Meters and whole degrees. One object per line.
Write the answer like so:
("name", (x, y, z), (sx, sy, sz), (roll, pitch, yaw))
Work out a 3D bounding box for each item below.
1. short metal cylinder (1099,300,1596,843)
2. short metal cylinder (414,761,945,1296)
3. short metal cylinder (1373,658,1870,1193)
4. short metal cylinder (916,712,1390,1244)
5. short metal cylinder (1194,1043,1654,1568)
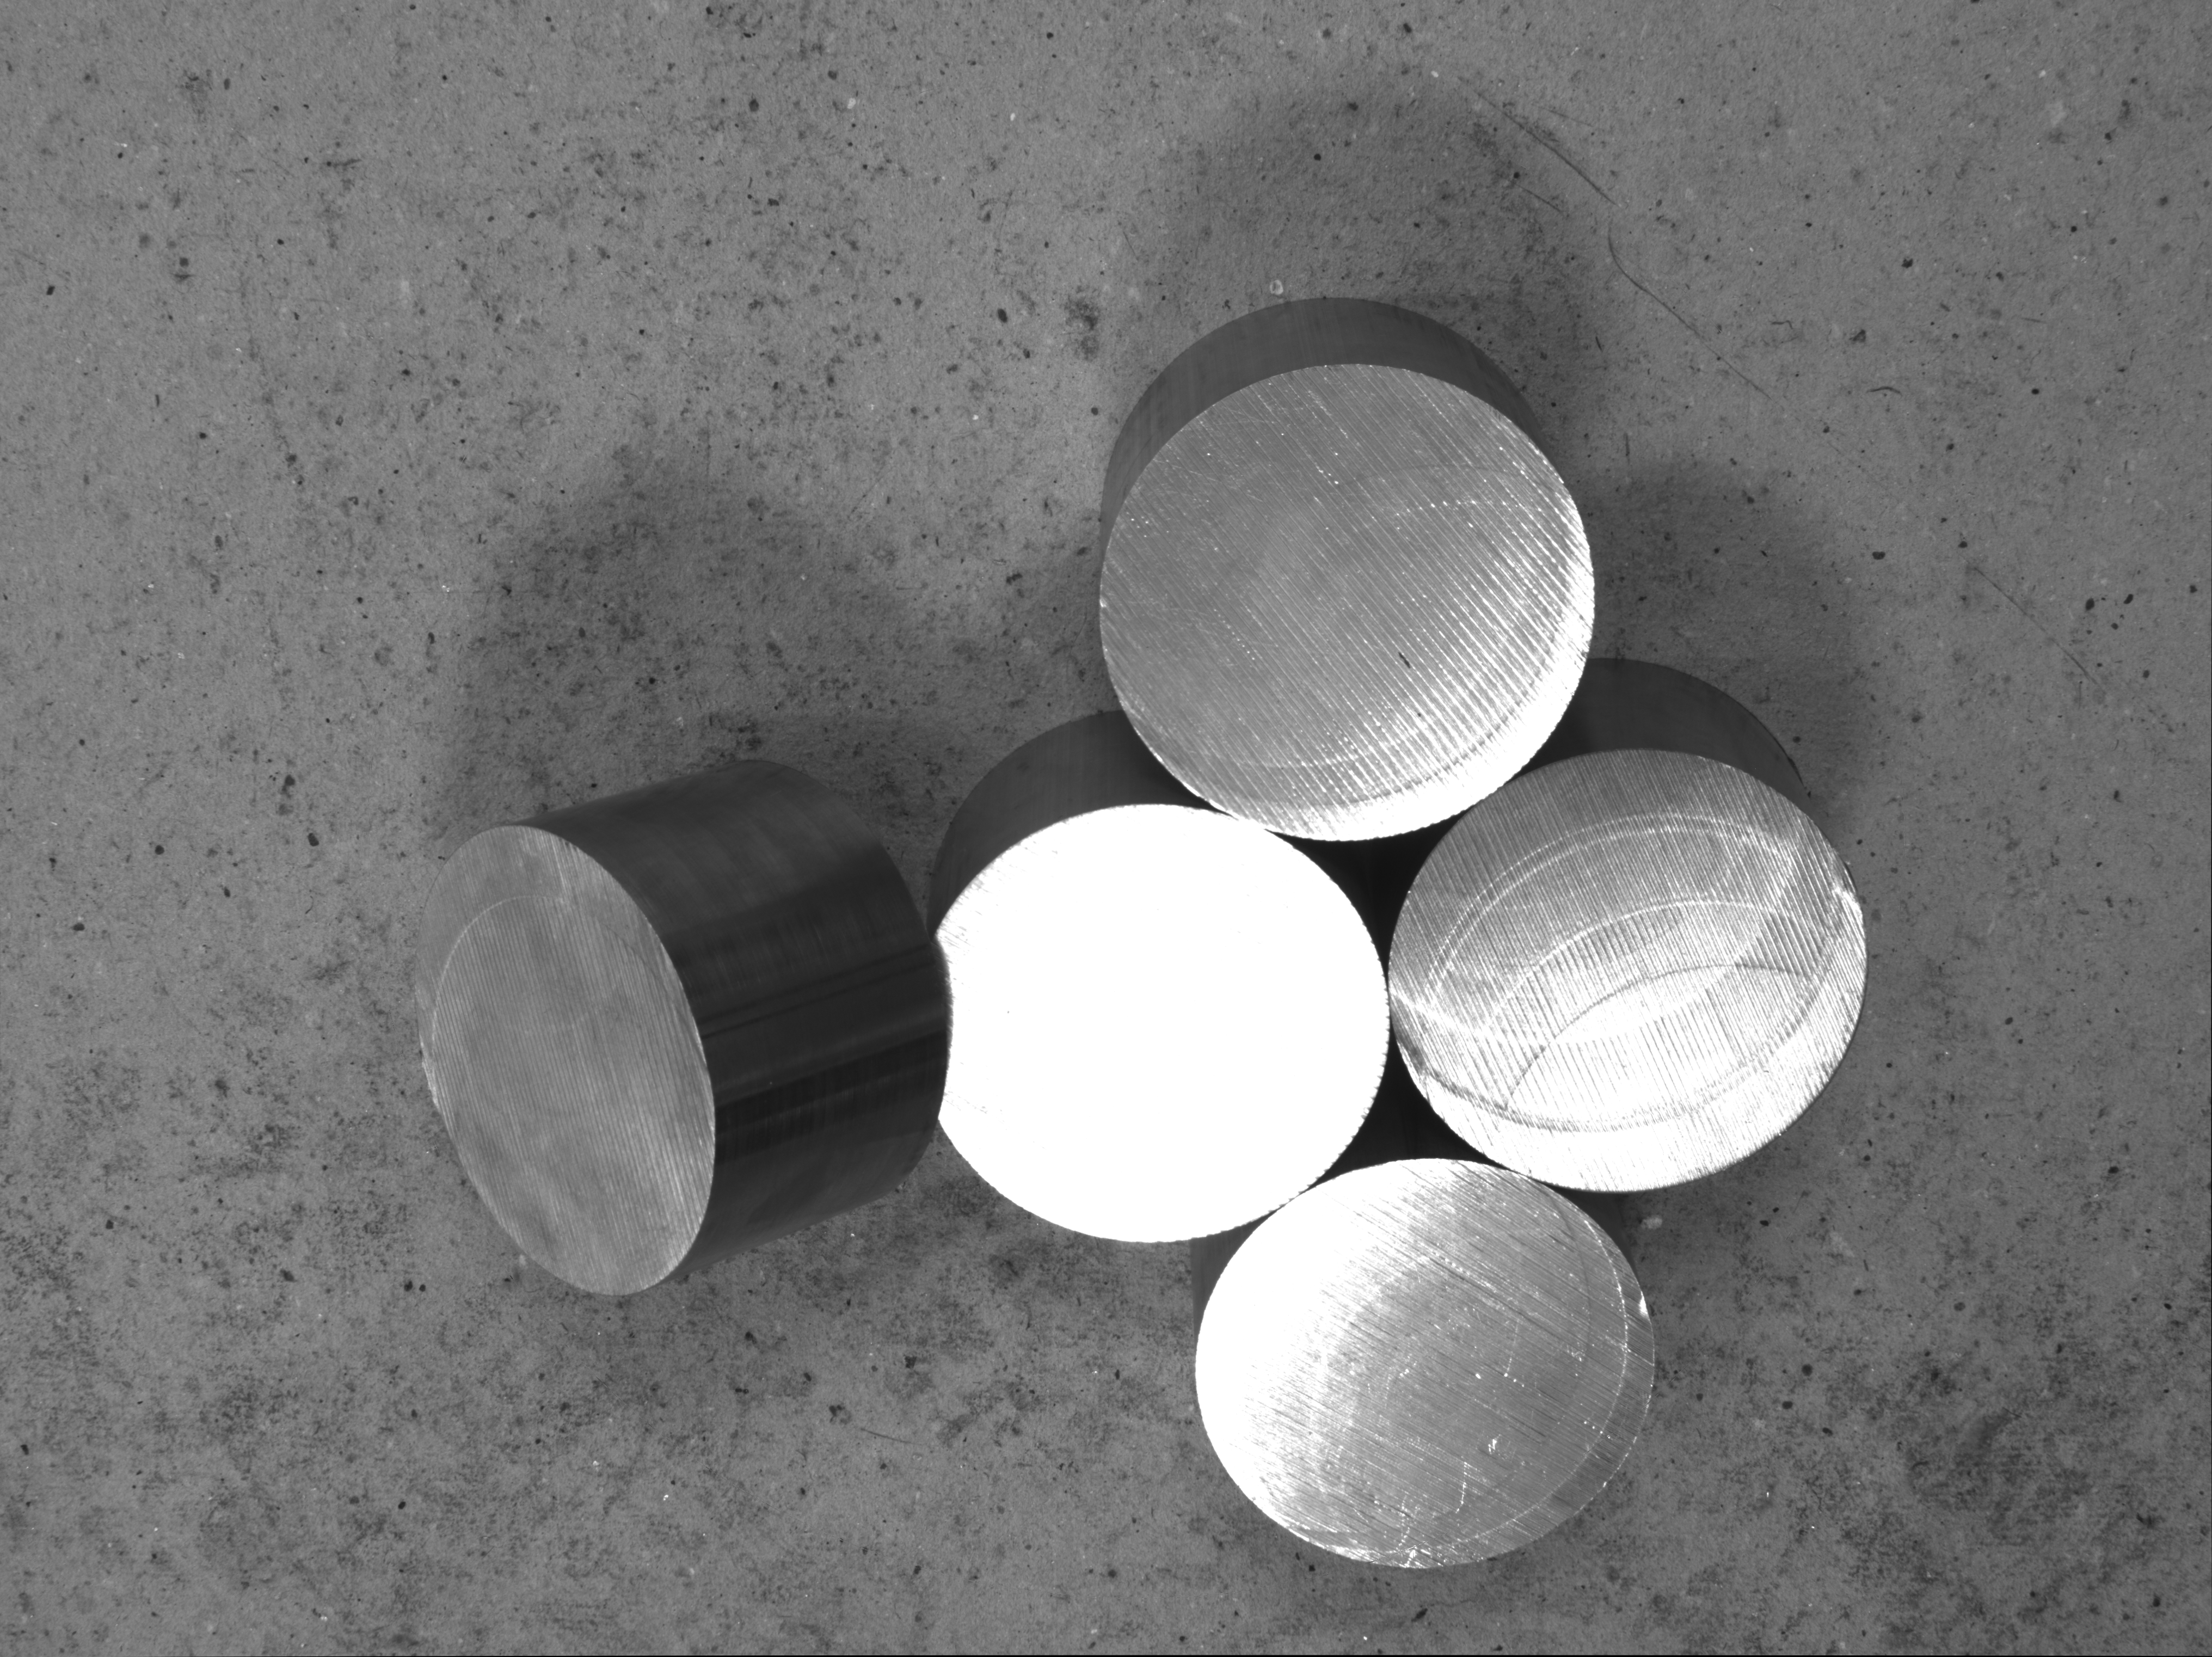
("short metal cylinder", (0.039, -0.044, 0.614), (0.080, 0.050, 0.080), (0, 110, 0))
("short metal cylinder", (-0.073, 0.033, 0.620), (0.080, 0.050, 0.080), (17, 115, 42))
("short metal cylinder", (0.088, 0.016, 0.636), (0.080, 0.050, 0.080), (0, 110, 0))
("short metal cylinder", (0.008, 0.025, 0.639), (0.080, 0.050, 0.080), (0, 110, 0))
("short metal cylinder", (0.055, 0.085, 0.662), (0.080, 0.050, 0.080), (0, 110, 0))
